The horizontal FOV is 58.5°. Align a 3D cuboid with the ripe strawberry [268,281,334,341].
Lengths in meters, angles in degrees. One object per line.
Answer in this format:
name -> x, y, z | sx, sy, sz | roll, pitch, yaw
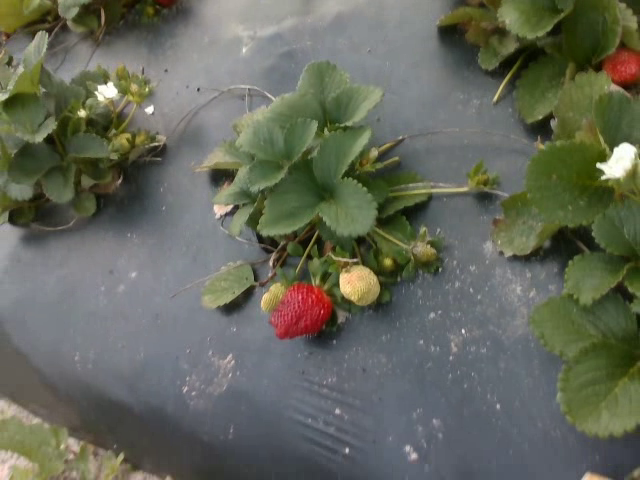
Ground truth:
ripe strawberry -> -0.016, 0.061, 0.444 | 0.046, 0.046, 0.059 | 11, 40, 38
